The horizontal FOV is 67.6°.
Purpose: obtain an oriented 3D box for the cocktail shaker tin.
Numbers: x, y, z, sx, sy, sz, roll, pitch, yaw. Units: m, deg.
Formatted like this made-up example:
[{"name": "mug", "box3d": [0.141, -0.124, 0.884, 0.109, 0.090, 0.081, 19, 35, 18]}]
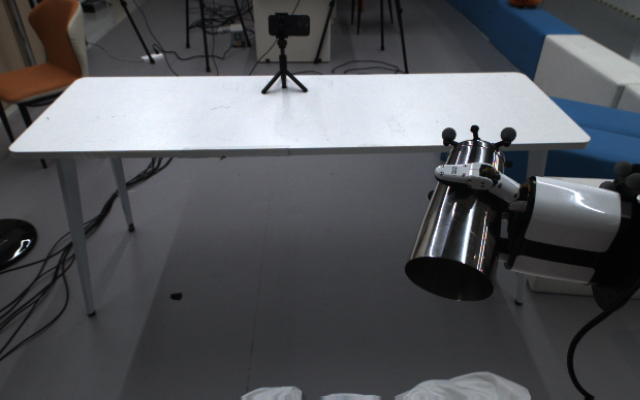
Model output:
[{"name": "cocktail shaker tin", "box3d": [0.161, 0.014, 0.542, 0.093, 0.093, 0.170, 14, 57, 16]}]
